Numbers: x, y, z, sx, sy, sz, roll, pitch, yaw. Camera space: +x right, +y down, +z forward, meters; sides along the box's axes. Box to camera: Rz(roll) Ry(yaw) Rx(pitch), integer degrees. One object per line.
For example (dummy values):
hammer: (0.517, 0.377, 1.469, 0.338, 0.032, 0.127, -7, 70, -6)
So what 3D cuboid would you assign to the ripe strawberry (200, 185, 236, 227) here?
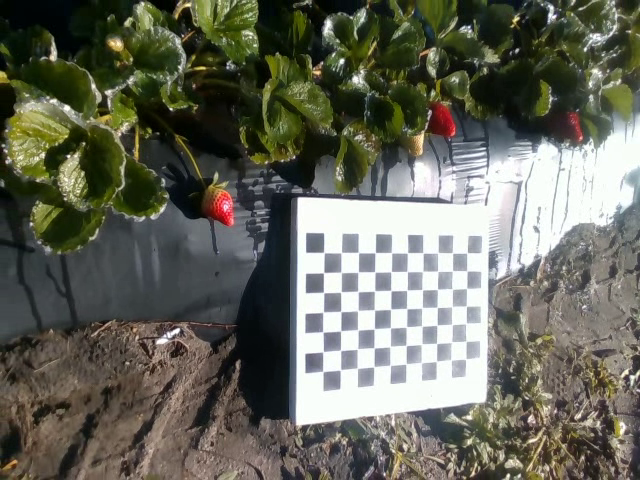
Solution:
ripe strawberry: (-0.109, -0.036, 0.641, 0.039, 0.053, 0.041, -23, -6, -23)
